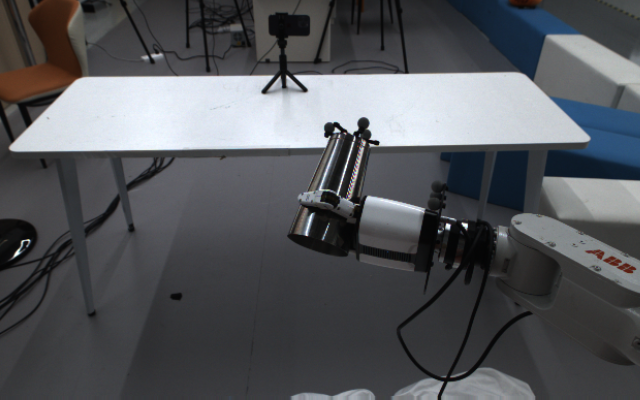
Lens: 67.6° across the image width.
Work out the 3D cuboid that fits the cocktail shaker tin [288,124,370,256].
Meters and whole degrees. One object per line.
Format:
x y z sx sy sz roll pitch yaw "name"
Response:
0.019 -0.012 0.720 0.093 0.093 0.170 14 72 17 "cocktail shaker tin"
